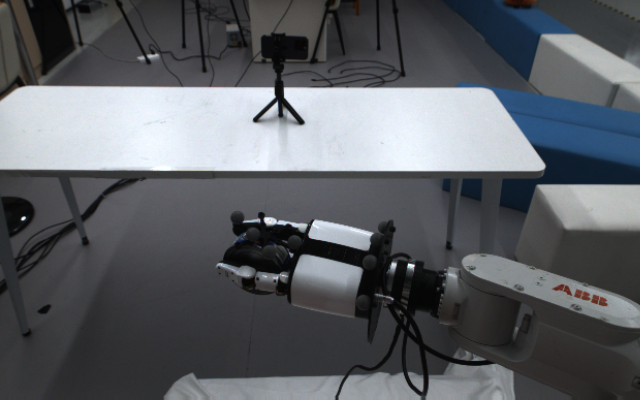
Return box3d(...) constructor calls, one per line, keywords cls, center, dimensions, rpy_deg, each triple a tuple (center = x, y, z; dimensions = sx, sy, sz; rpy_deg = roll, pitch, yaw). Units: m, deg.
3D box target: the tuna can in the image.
box3d(cls="tuna can", center=(-0.080, 0.083, 0.643), dimensions=(0.085, 0.085, 0.034), rpy_deg=(12, 33, 14))
